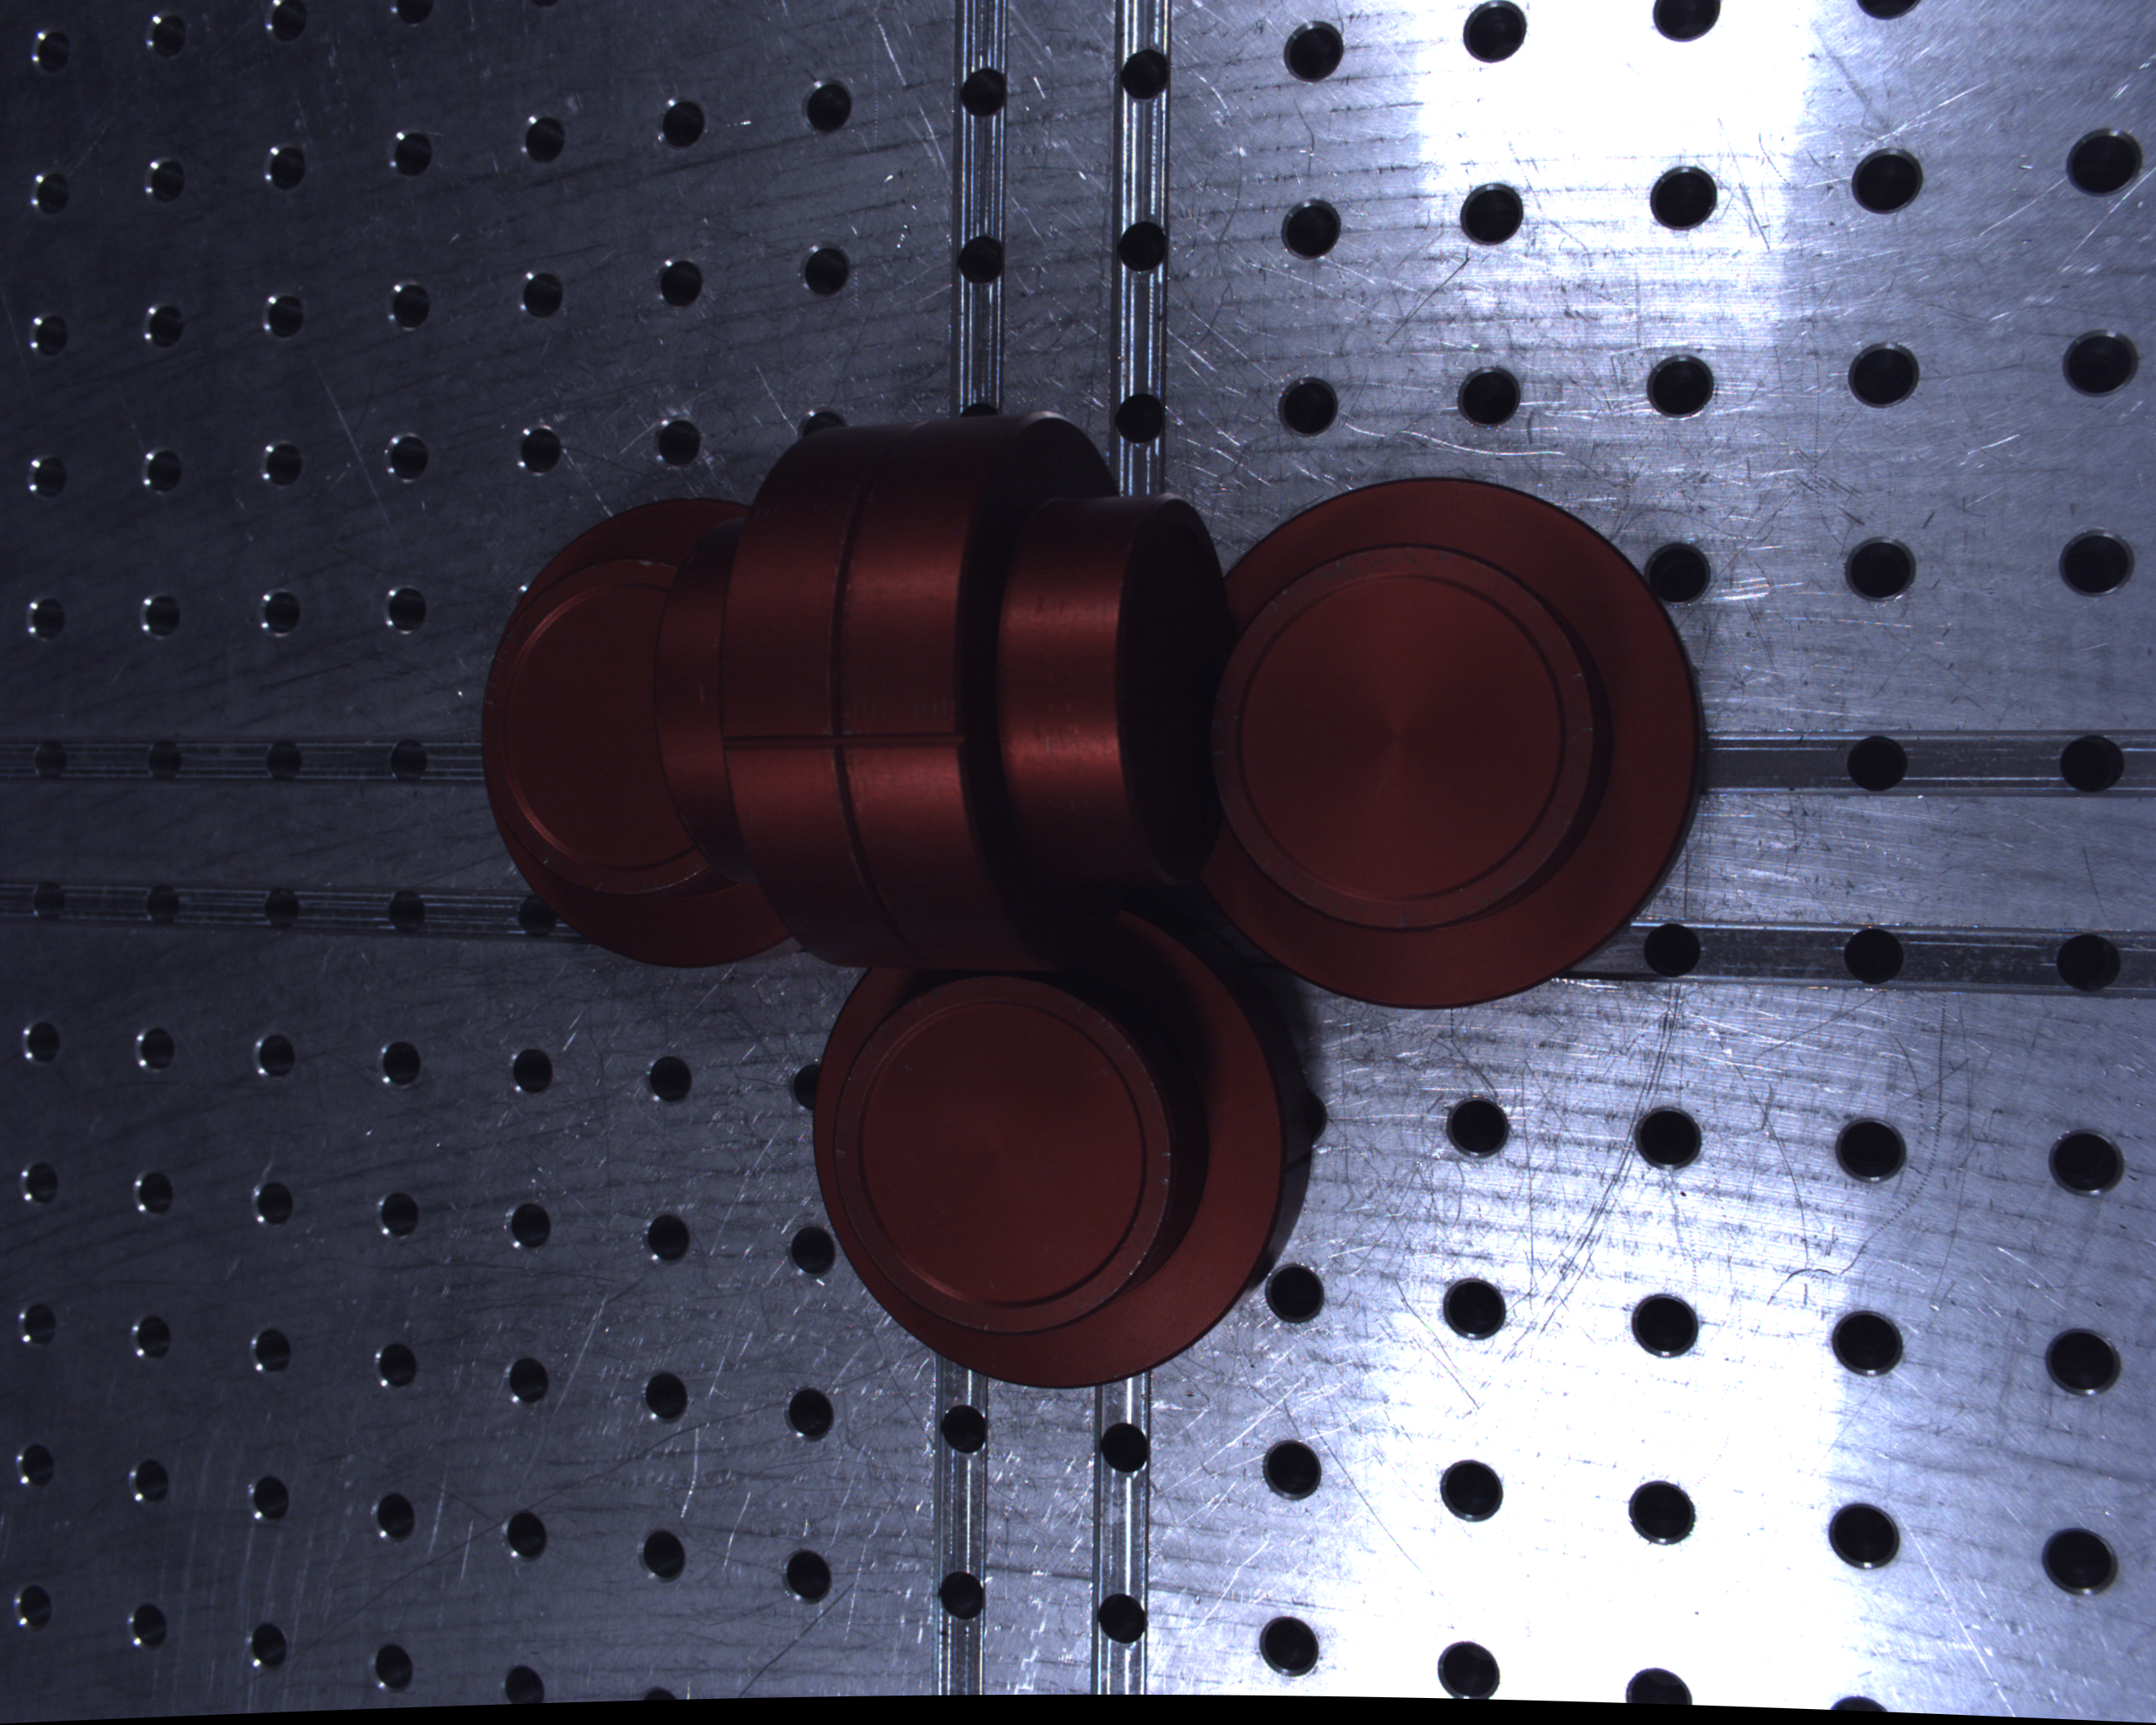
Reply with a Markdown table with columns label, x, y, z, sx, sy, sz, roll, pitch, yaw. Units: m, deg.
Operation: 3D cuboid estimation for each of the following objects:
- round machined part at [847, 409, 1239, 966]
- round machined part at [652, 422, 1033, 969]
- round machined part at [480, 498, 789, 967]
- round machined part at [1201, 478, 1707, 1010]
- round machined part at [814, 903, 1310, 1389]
| label | x | y | z | sx | sy | sz | roll | pitch | yaw |
| --- | --- | --- | --- | --- | --- | --- | --- | --- | --- |
| round machined part | 0.000 | -0.031 | 0.367 | 0.042 | 0.098 | 0.097 | -1 | 90 | 20 |
| round machined part | -0.042 | -0.030 | 0.381 | 0.042 | 0.098 | 0.097 | 1 | 91 | 20 |
| round machined part | -0.083 | -0.027 | 0.431 | 0.098 | 0.042 | 0.097 | 0 | 90 | 19 |
| round machined part | 0.062 | -0.022 | 0.380 | 0.098 | 0.042 | 0.097 | 0 | 90 | 19 |
| round machined part | -0.007 | 0.054 | 0.405 | 0.098 | 0.042 | 0.097 | 0 | 90 | 19 |
